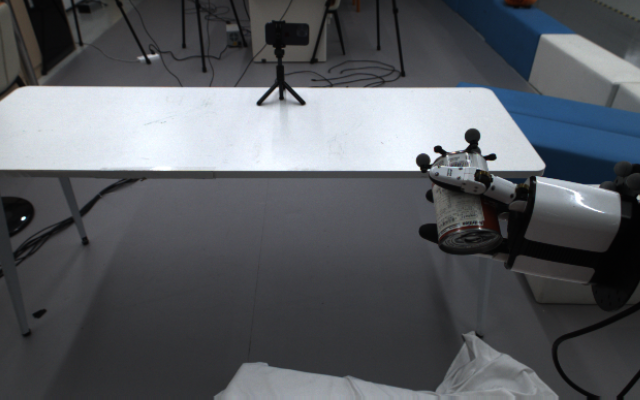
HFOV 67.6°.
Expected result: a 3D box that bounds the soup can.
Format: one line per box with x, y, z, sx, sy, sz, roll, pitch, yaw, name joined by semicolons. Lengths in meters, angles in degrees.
0.167;0.002;0.555;0.067;0.067;0.101;1;62;-2;soup can
